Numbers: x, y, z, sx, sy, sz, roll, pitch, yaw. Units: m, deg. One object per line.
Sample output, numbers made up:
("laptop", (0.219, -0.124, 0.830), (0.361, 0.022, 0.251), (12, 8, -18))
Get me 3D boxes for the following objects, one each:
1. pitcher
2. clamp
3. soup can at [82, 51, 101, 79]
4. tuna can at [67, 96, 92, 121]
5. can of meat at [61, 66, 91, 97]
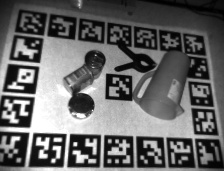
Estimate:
("pitcher", (0.192, -0.006, 0.783), (0.187, 0.134, 0.243), (16, 60, 17))
("clamp", (0.073, -0.099, 0.853), (0.166, 0.036, 0.121), (8, 66, -13))
("soup can", (-0.075, -0.069, 0.766), (0.068, 0.102, 0.068), (3, 73, -8))
("tuna can", (-0.112, 0.080, 0.743), (0.086, 0.033, 0.085), (4, 73, -11))
("can of meat", (-0.122, -0.010, 0.731), (0.084, 0.102, 0.057), (-32, 81, -16))
